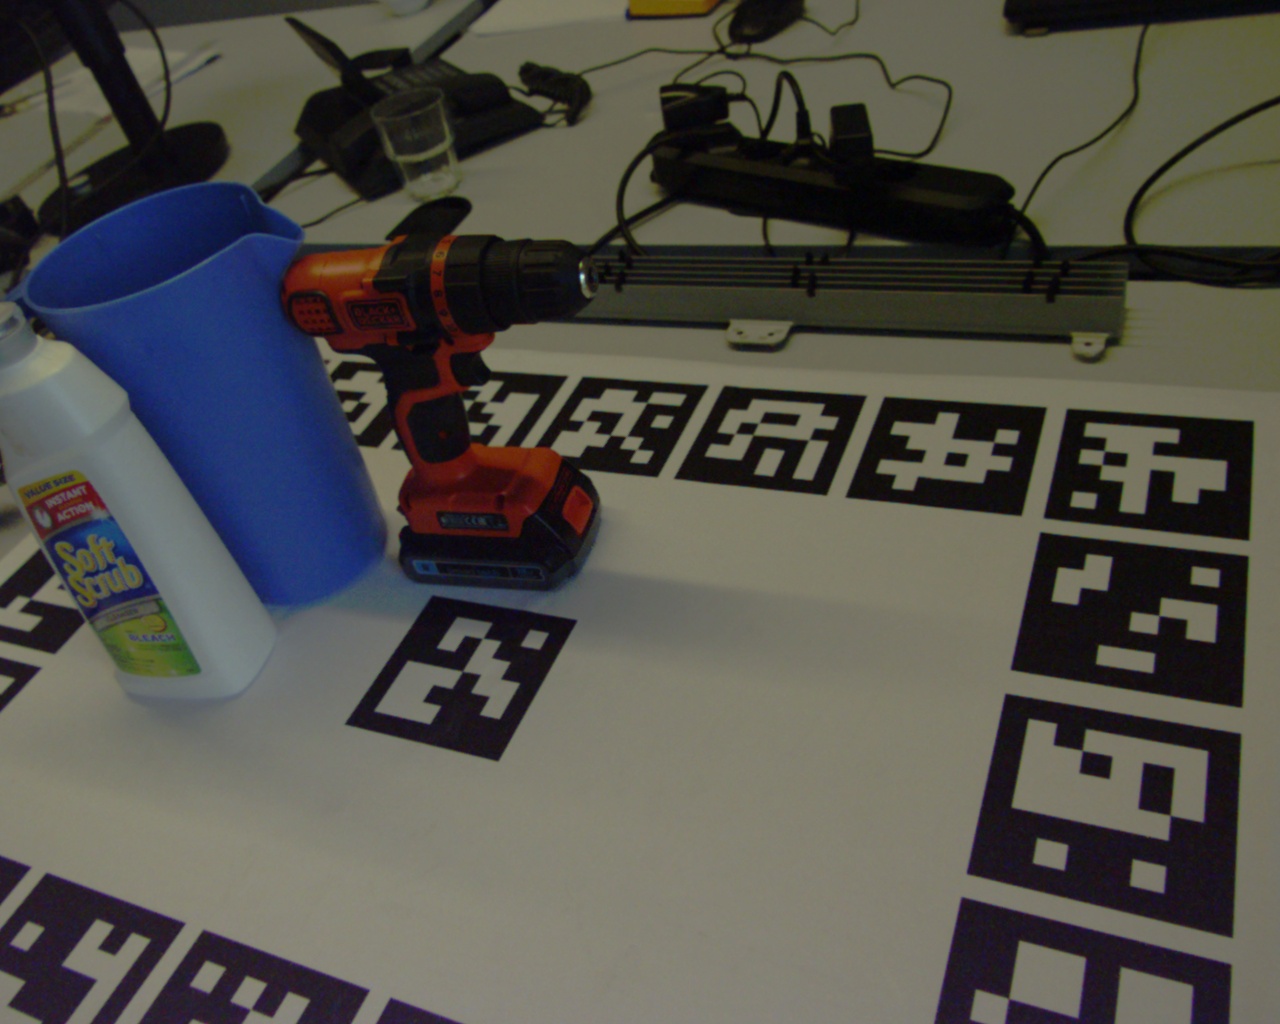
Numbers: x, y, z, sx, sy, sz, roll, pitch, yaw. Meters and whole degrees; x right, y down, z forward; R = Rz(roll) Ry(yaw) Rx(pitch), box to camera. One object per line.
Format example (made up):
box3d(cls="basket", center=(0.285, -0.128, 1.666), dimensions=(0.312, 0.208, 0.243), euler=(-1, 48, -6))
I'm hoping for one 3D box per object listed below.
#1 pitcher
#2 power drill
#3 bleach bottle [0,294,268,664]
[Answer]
box3d(cls="pitcher", center=(-0.258, -0.072, 0.713), dimensions=(0.189, 0.240, 0.134), euler=(-13, 43, 5))
box3d(cls="power drill", center=(-0.096, -0.060, 0.660), dimensions=(0.186, 0.186, 0.057), euler=(6, 49, 16))
box3d(cls="bleach bottle", center=(-0.308, -0.016, 0.642), dimensions=(0.103, 0.249, 0.068), euler=(0, 45, 19))
